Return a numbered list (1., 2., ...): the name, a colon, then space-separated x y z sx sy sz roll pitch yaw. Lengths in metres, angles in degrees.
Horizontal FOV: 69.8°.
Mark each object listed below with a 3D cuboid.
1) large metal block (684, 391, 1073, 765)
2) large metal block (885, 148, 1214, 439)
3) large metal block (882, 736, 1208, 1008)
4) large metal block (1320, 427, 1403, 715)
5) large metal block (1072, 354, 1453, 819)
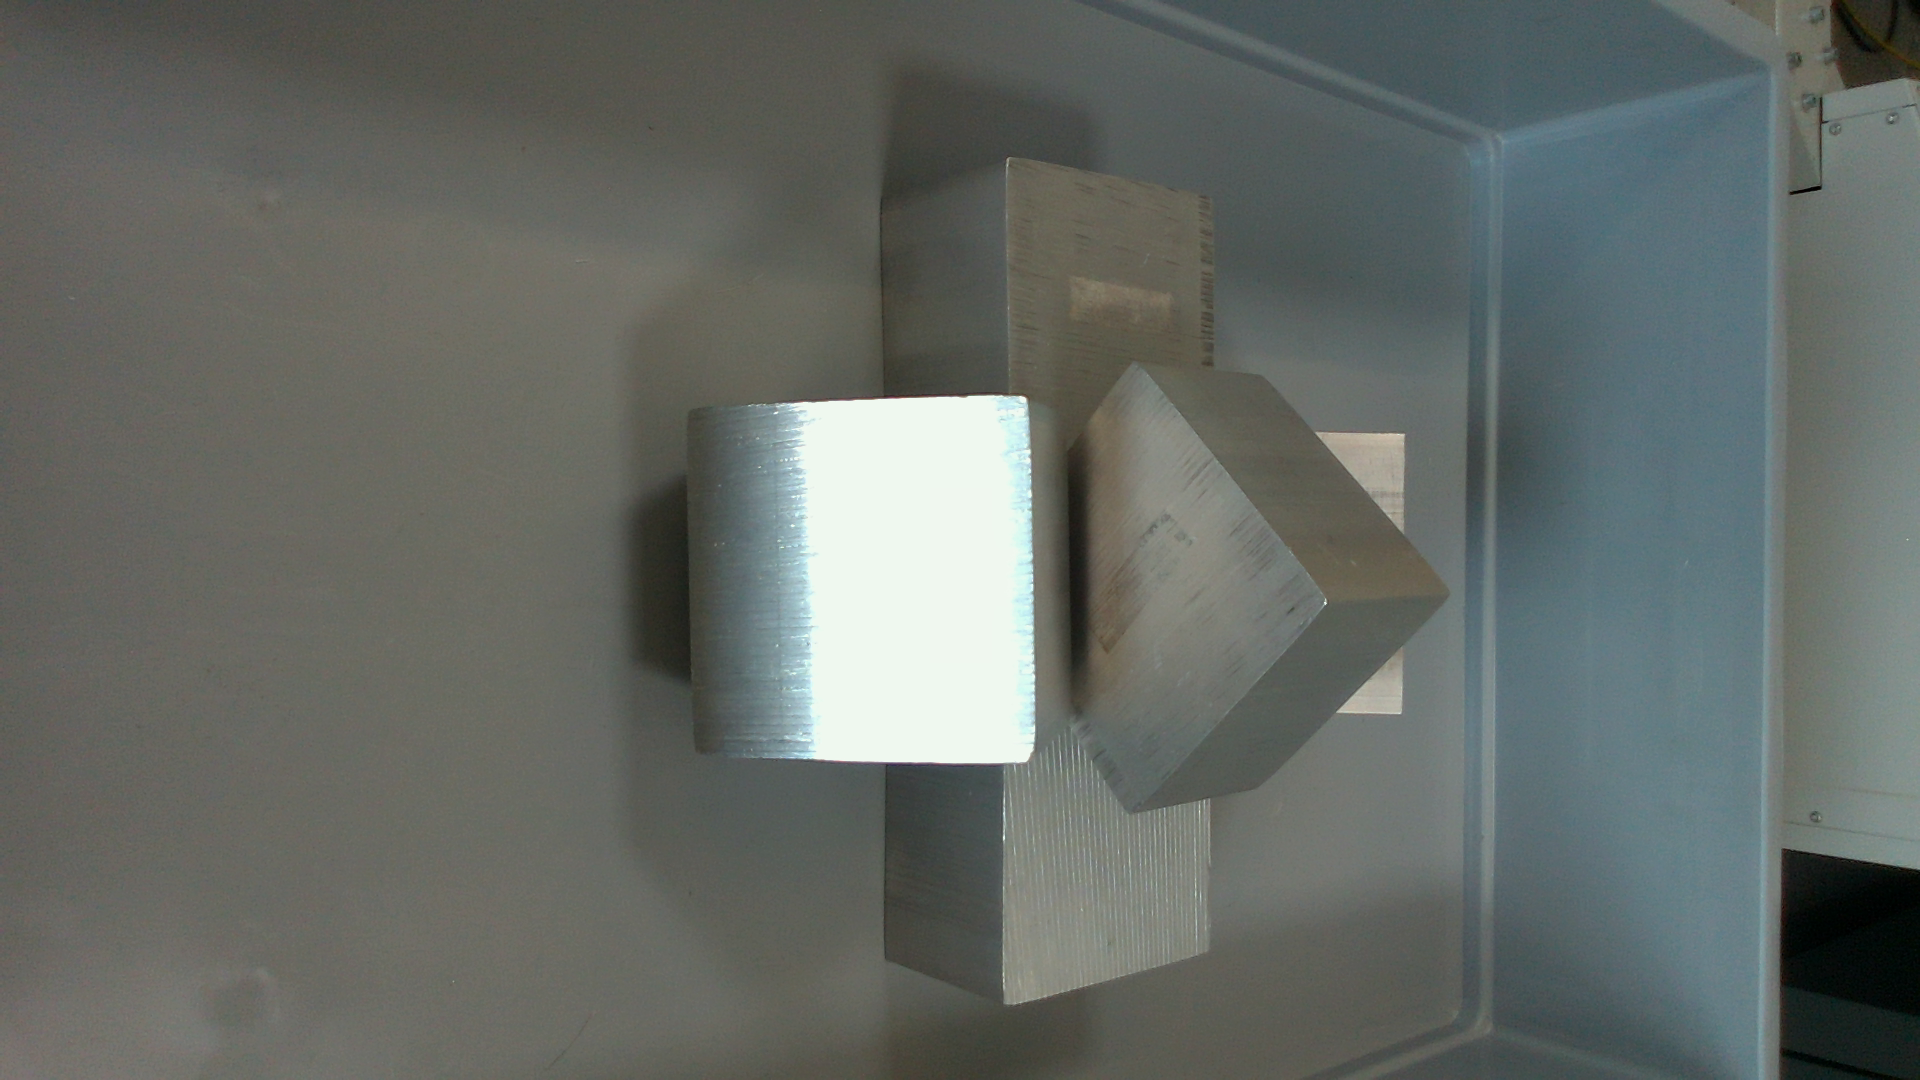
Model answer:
1. large metal block: -0.017 0.008 0.328 0.050 0.080 0.080 -6 95 -76
2. large metal block: 0.027 -0.059 0.390 0.080 0.050 0.080 -2 91 -40
3. large metal block: 0.025 0.079 0.393 0.080 0.050 0.080 1 89 -40
4. large metal block: 0.098 0.009 0.424 0.050 0.080 0.080 1 90 -1
5. large metal block: 0.060 0.011 0.351 0.050 0.080 0.080 -1 47 -41
